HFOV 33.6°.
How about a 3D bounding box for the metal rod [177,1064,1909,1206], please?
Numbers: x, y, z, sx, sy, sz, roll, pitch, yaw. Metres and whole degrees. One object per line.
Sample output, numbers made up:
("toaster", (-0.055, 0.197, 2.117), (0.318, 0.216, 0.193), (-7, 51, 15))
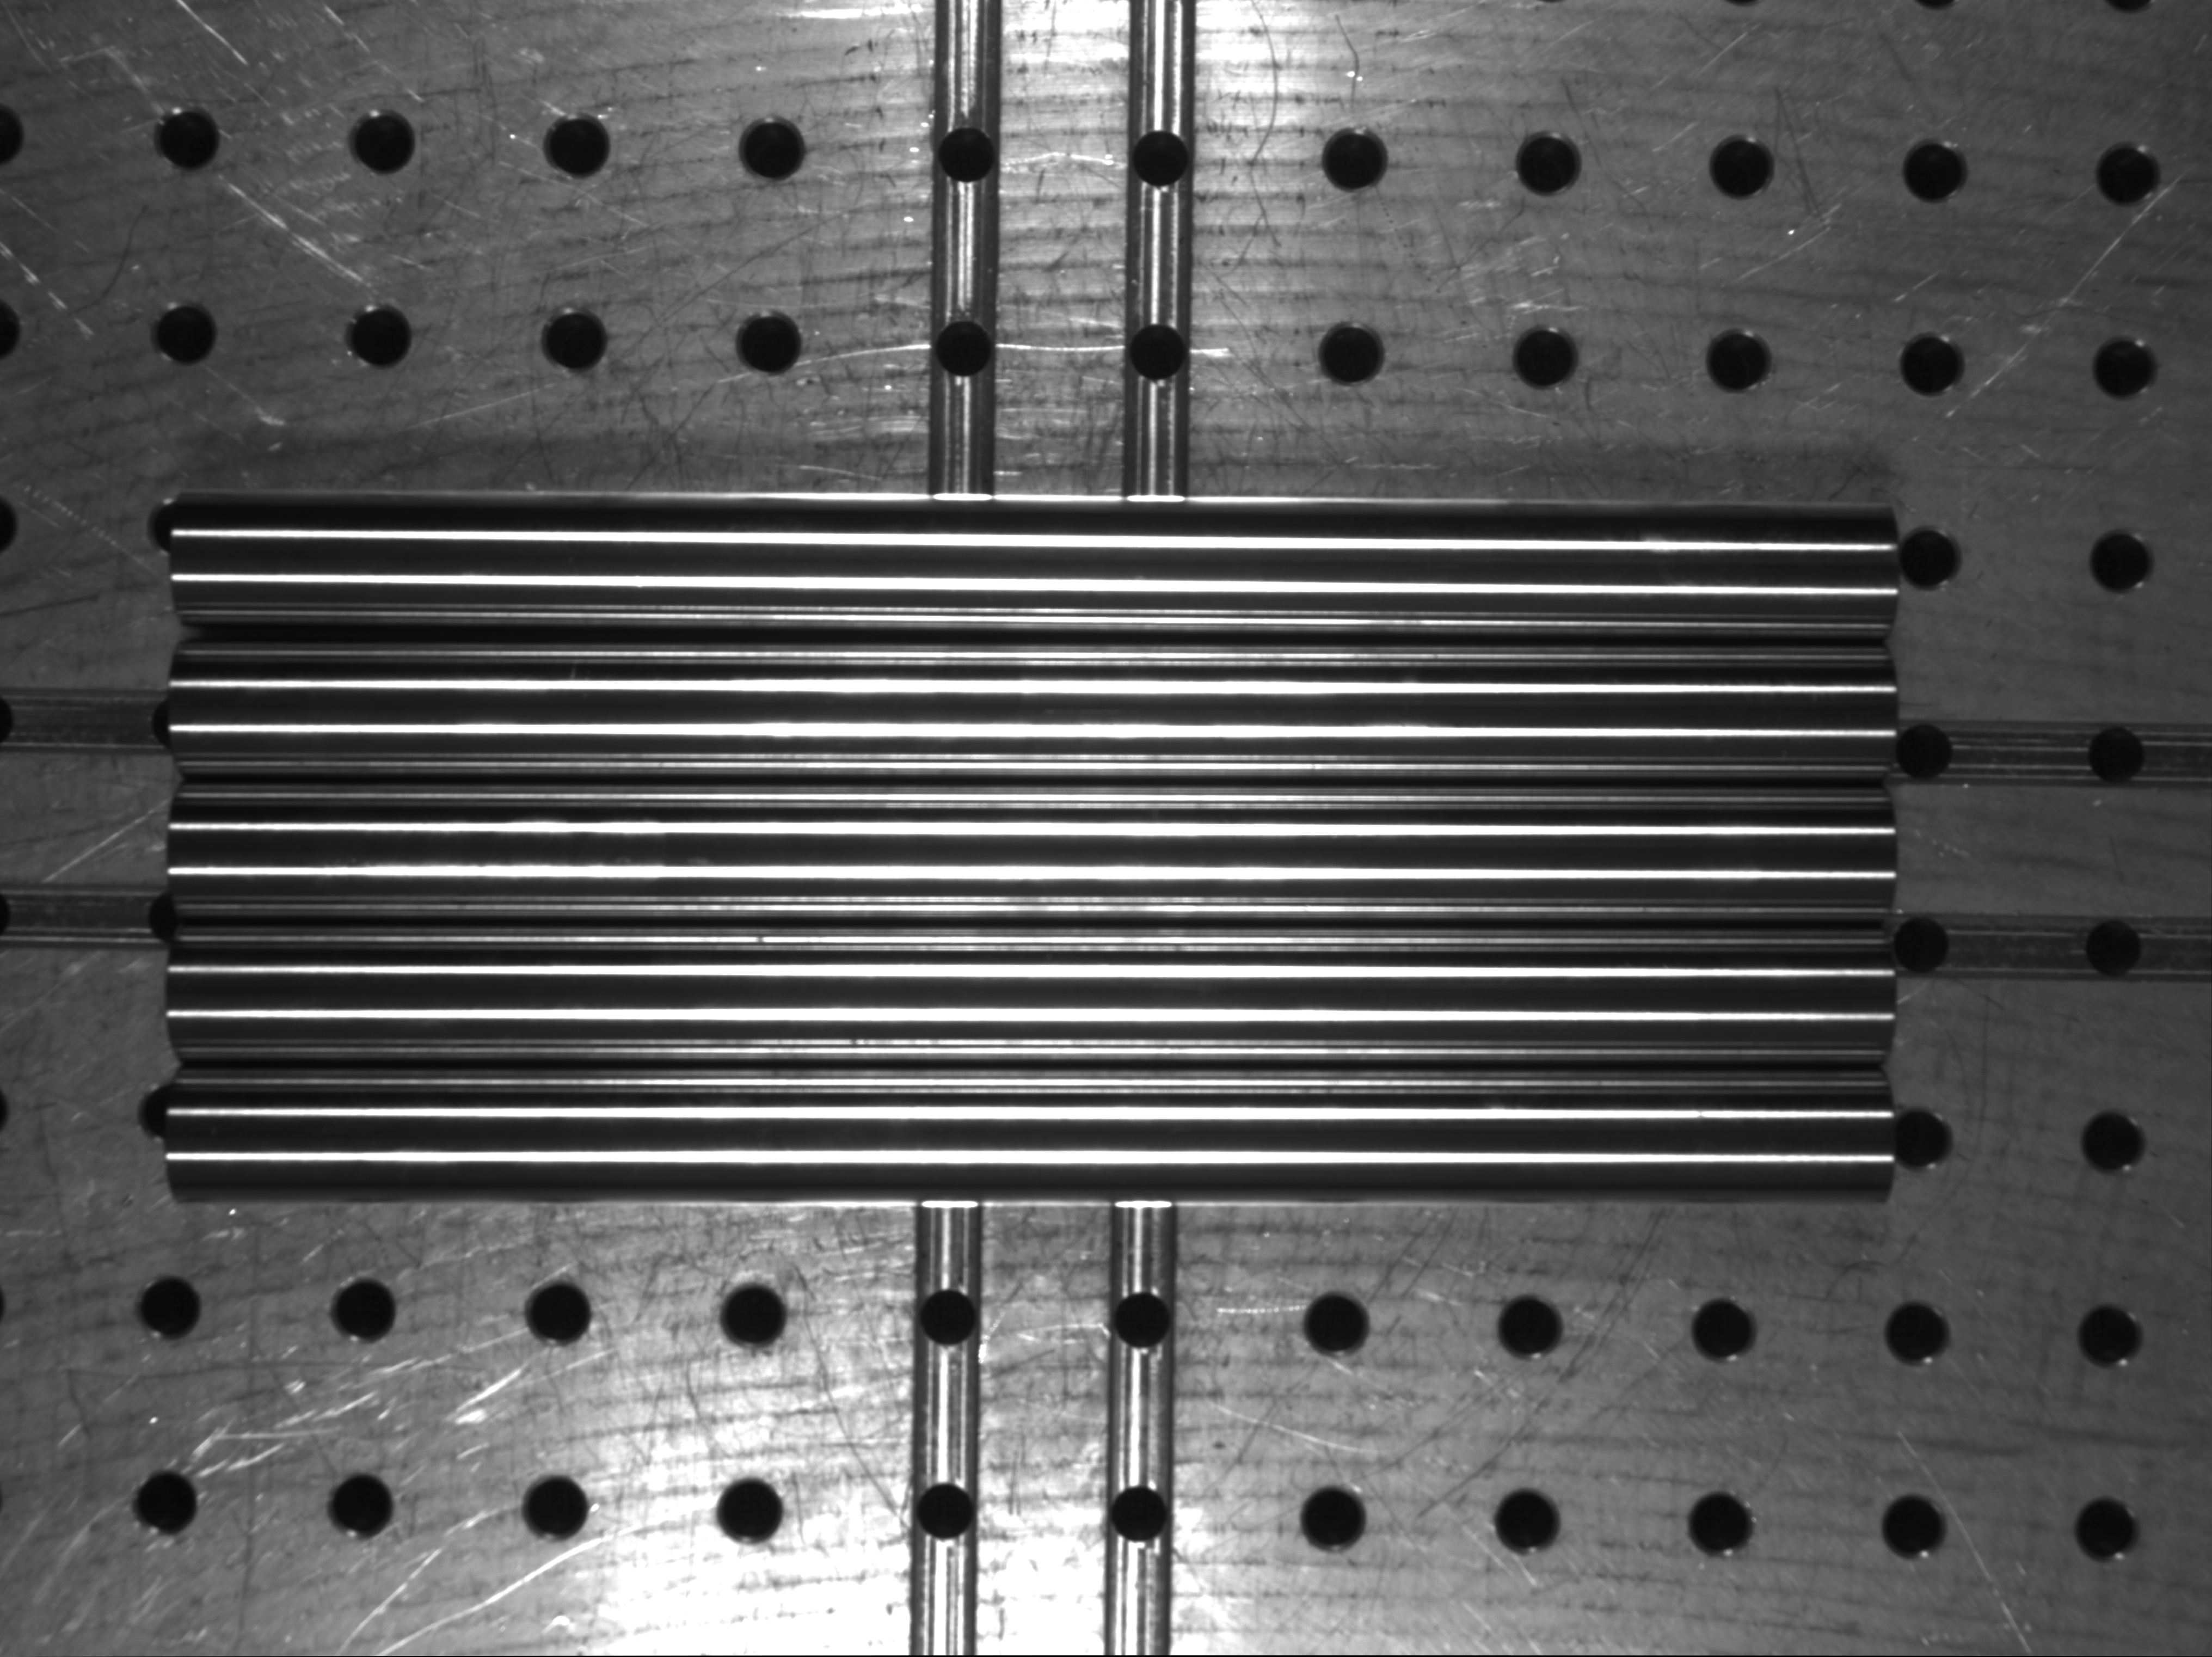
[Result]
("metal rod", (-0.011, 0.054, 0.647), (0.300, 0.025, 0.025), (0, 90, -1))

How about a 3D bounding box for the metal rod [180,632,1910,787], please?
("metal rod", (-0.010, -0.021, 0.647), (0.300, 0.025, 0.025), (0, 90, -1))

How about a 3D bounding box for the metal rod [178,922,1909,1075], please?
("metal rod", (-0.011, 0.030, 0.647), (0.300, 0.025, 0.025), (0, 90, -1))

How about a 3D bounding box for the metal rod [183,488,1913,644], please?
("metal rod", (-0.010, -0.046, 0.647), (0.300, 0.025, 0.025), (0, 90, -1))

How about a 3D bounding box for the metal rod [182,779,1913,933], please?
("metal rod", (-0.010, 0.005, 0.647), (0.300, 0.025, 0.025), (0, 90, -1))
